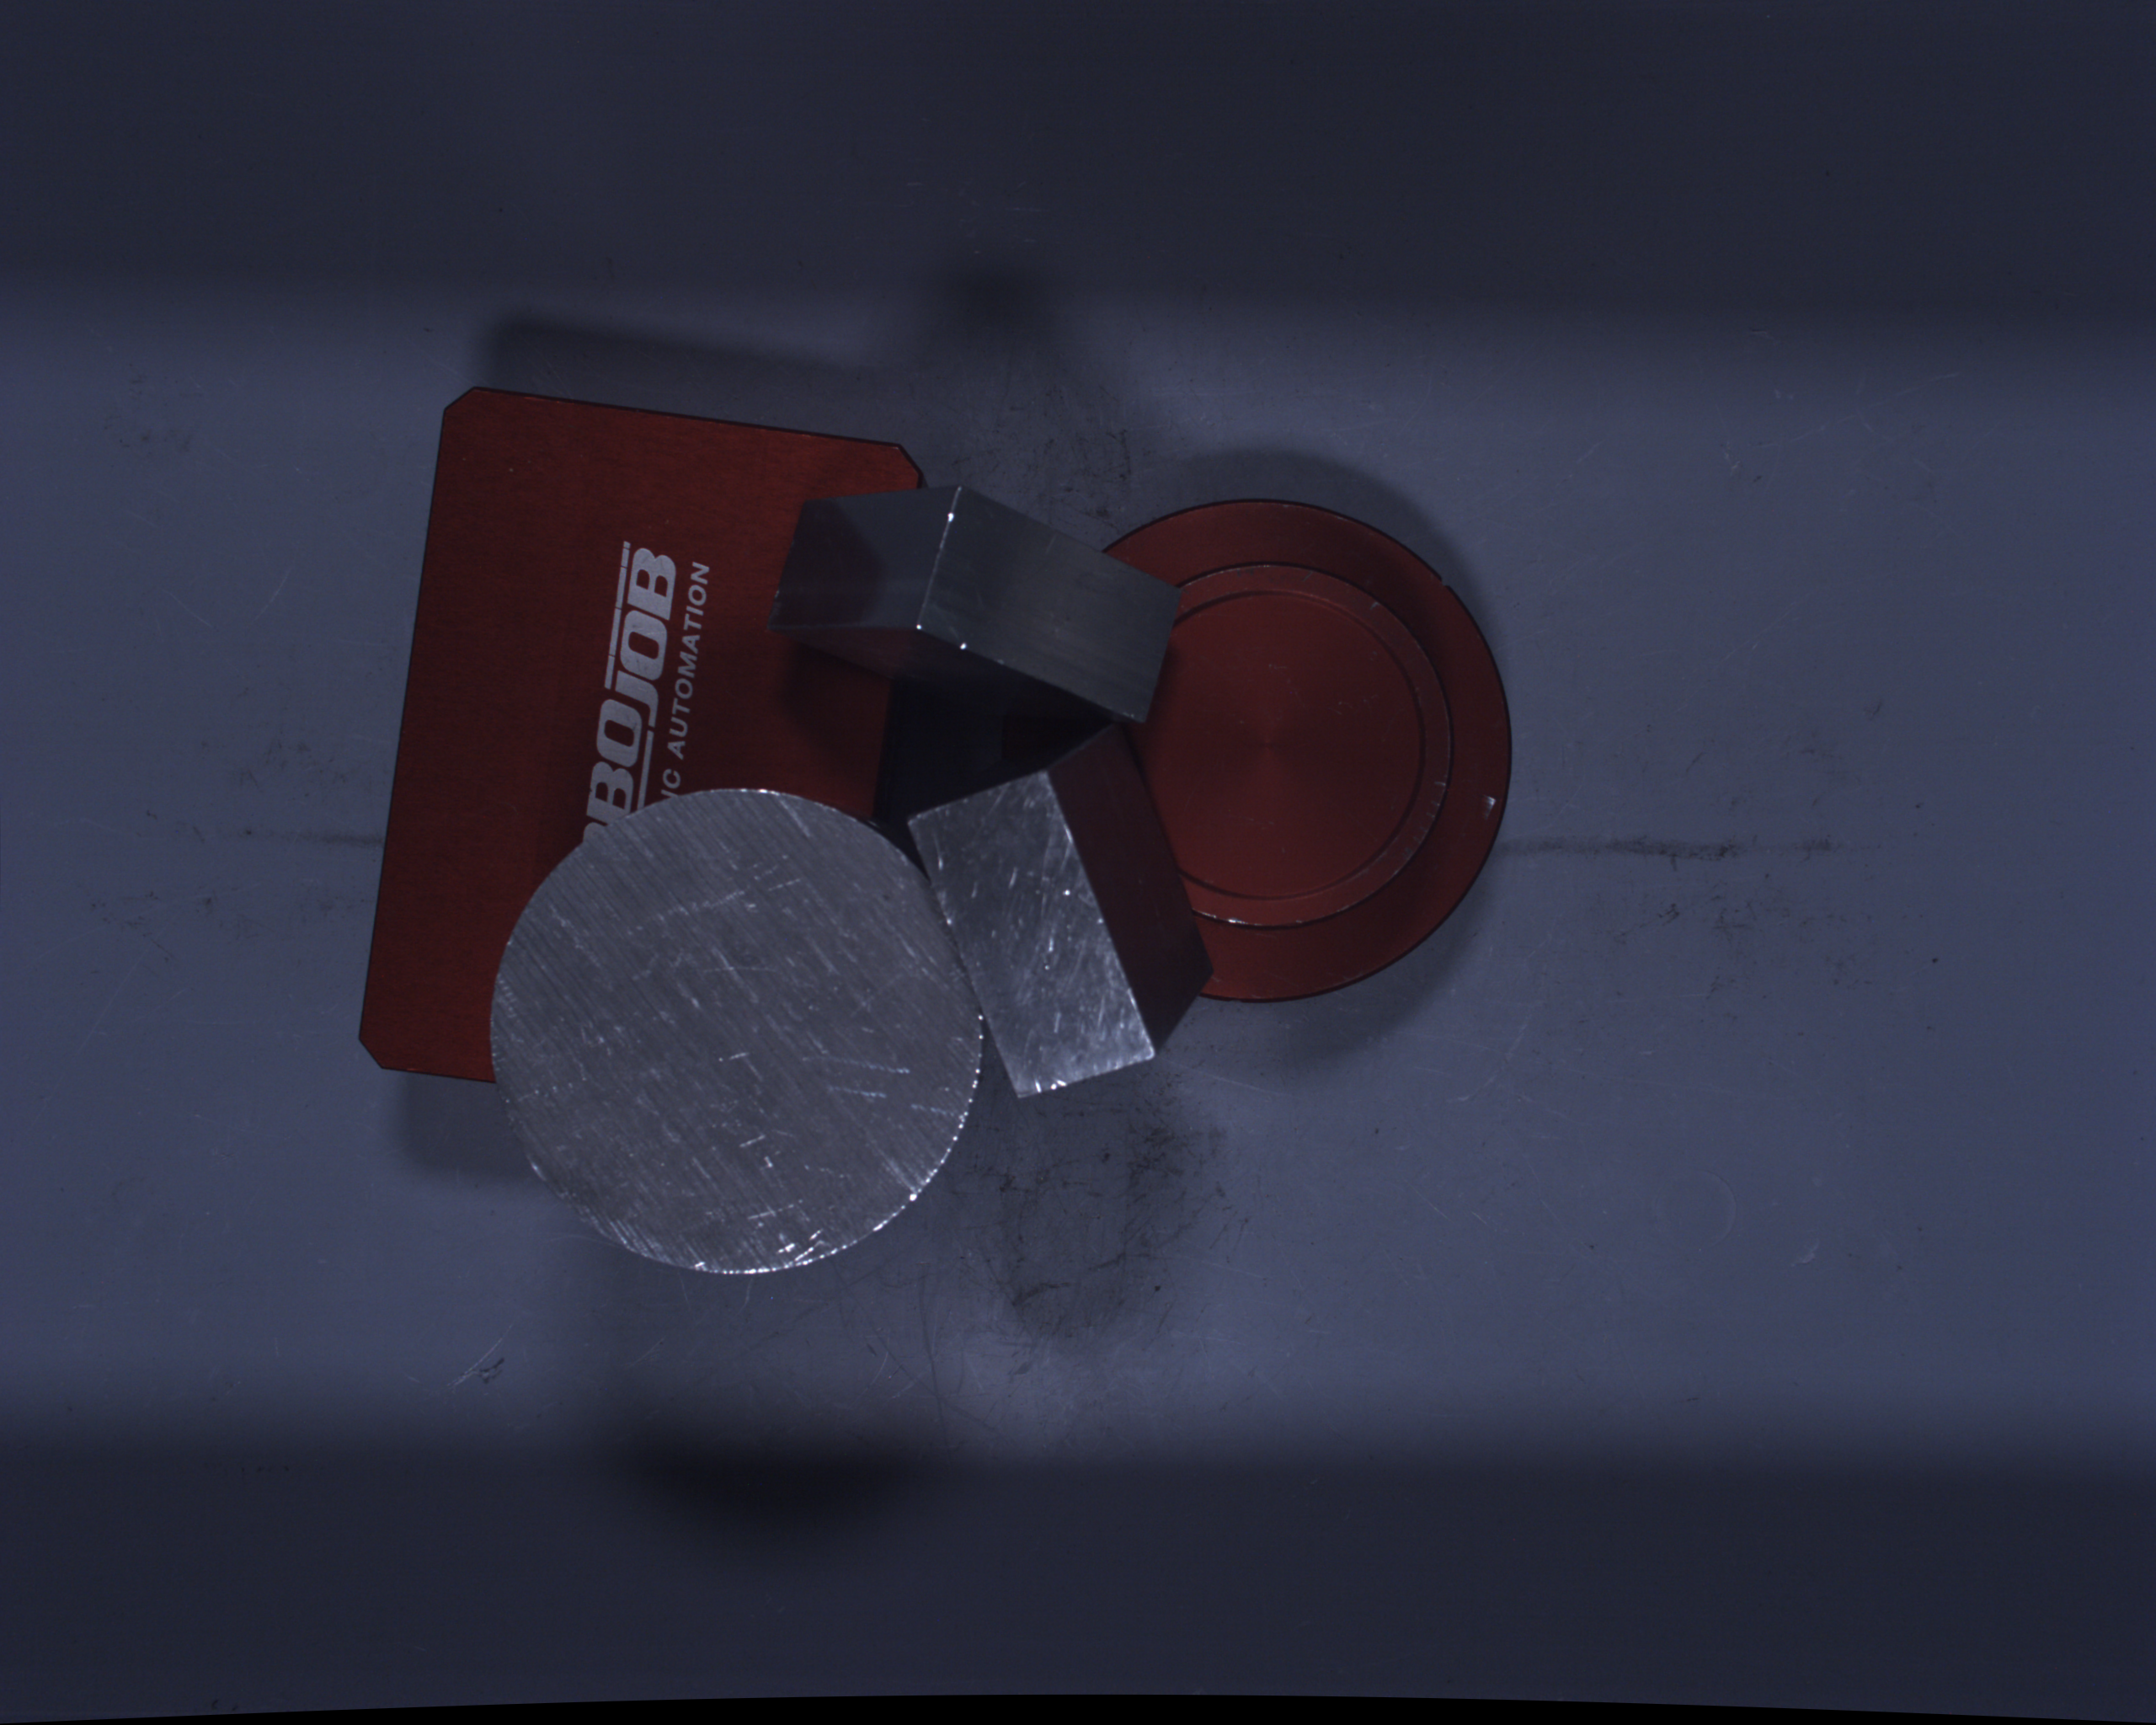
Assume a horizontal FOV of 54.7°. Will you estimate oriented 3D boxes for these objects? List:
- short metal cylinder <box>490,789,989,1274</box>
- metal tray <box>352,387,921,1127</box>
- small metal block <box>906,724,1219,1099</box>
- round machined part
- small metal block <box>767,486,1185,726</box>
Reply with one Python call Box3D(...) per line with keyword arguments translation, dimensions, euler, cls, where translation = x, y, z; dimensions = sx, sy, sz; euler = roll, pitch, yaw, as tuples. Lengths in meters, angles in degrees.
Box3D(translation=(-0.056, 0.027, 0.367), dimensions=(0.081, 0.050, 0.079), euler=(0, 90, -1), cls="short metal cylinder")
Box3D(translation=(-0.083, -0.020, 0.404), dimensions=(0.091, 0.030, 0.129), euler=(8, 90, -1), cls="metal tray")
Box3D(translation=(-0.001, 0.006, 0.358), dimensions=(0.025, 0.050, 0.050), euler=(-19, 97, 18), cls="small metal block")
Box3D(translation=(0.035, -0.021, 0.401), dimensions=(0.099, 0.042, 0.097), euler=(0, 90, -1), cls="round machined part")
Box3D(translation=(-0.019, -0.045, 0.372), dimensions=(0.050, 0.050, 0.025), euler=(19, 83, -37), cls="small metal block")
